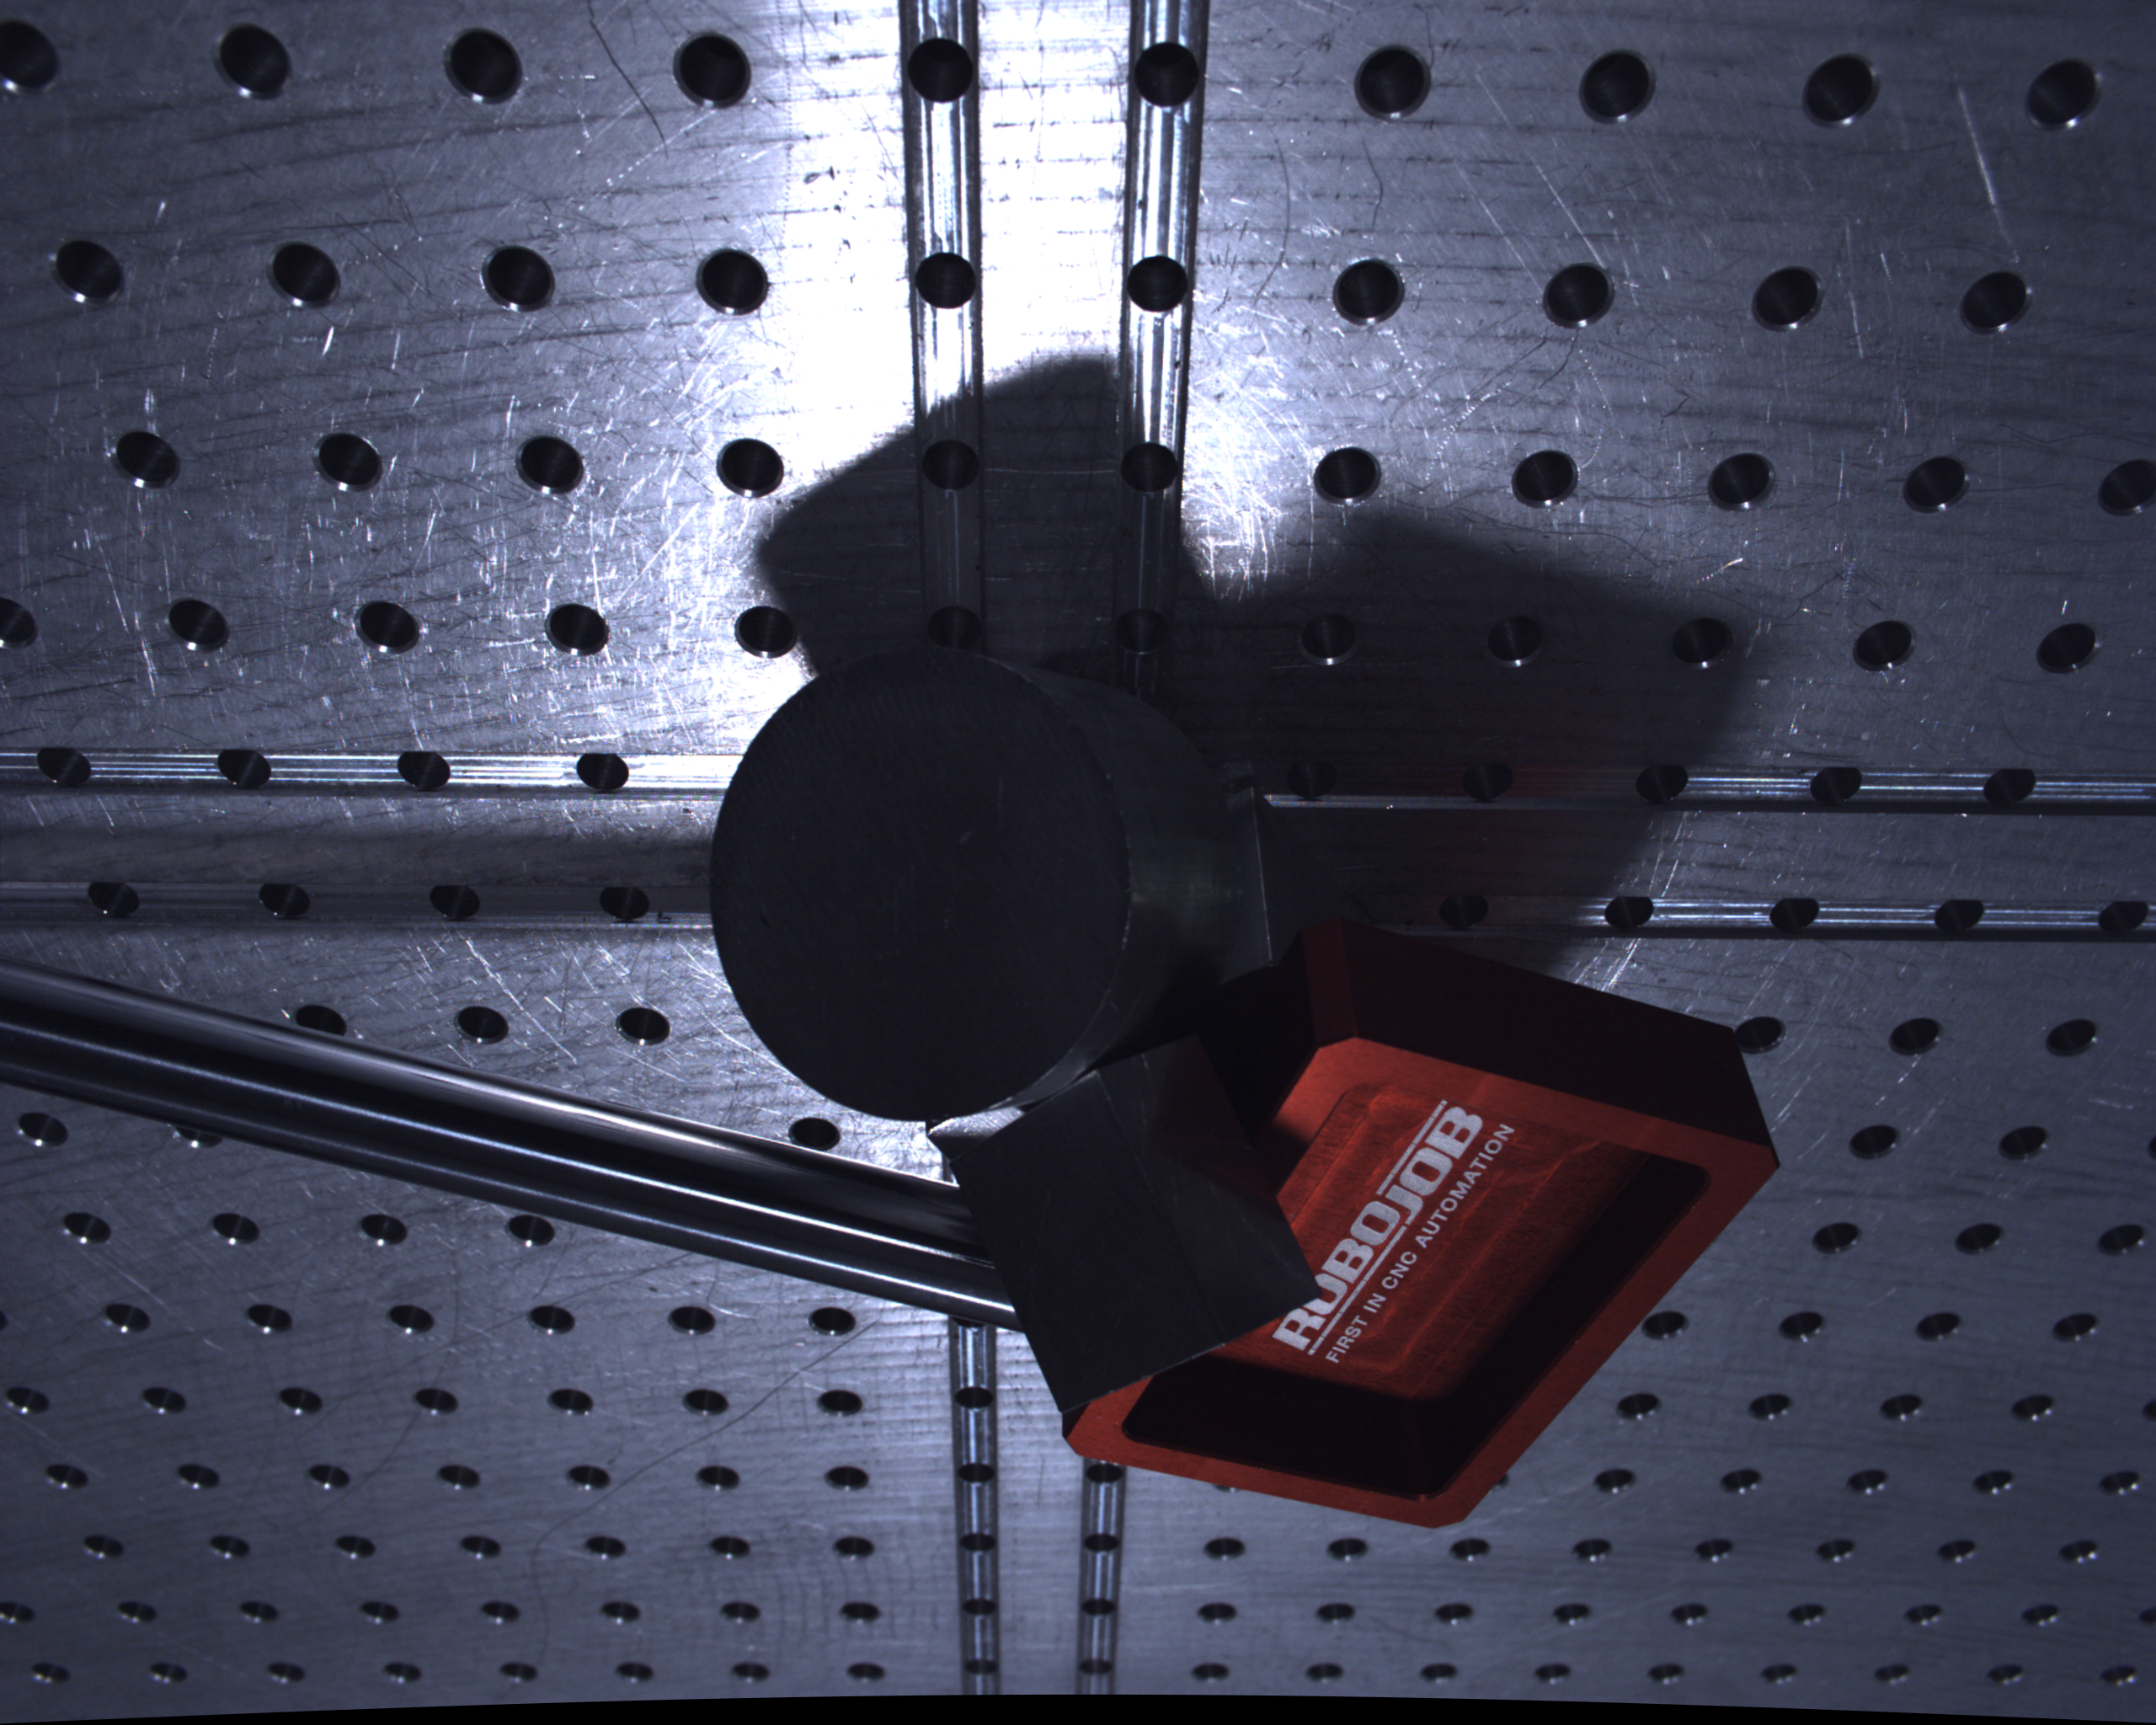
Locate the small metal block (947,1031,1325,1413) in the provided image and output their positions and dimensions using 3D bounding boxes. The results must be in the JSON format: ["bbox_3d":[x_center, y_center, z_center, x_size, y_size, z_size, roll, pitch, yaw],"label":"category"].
[{"bbox_3d":[0.009,0.064,0.371,0.025,0.050,0.050,-15,164,-41],"label":"small metal block"}]

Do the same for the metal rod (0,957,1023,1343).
[{"bbox_3d":[-0.142,0.049,0.413,0.302,0.025,0.025,13,130,3],"label":"metal rod"}]

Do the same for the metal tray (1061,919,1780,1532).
[{"bbox_3d":[0.060,0.076,0.404,0.091,0.030,0.129,16,128,-14],"label":"metal tray"}]

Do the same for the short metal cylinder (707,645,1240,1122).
[{"bbox_3d":[-0.018,0.004,0.371,0.080,0.080,0.050,-28,168,21],"label":"short metal cylinder"}]

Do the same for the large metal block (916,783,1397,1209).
[{"bbox_3d":[0.025,0.042,0.430,0.080,0.050,0.080,-28,125,21],"label":"large metal block"}]
